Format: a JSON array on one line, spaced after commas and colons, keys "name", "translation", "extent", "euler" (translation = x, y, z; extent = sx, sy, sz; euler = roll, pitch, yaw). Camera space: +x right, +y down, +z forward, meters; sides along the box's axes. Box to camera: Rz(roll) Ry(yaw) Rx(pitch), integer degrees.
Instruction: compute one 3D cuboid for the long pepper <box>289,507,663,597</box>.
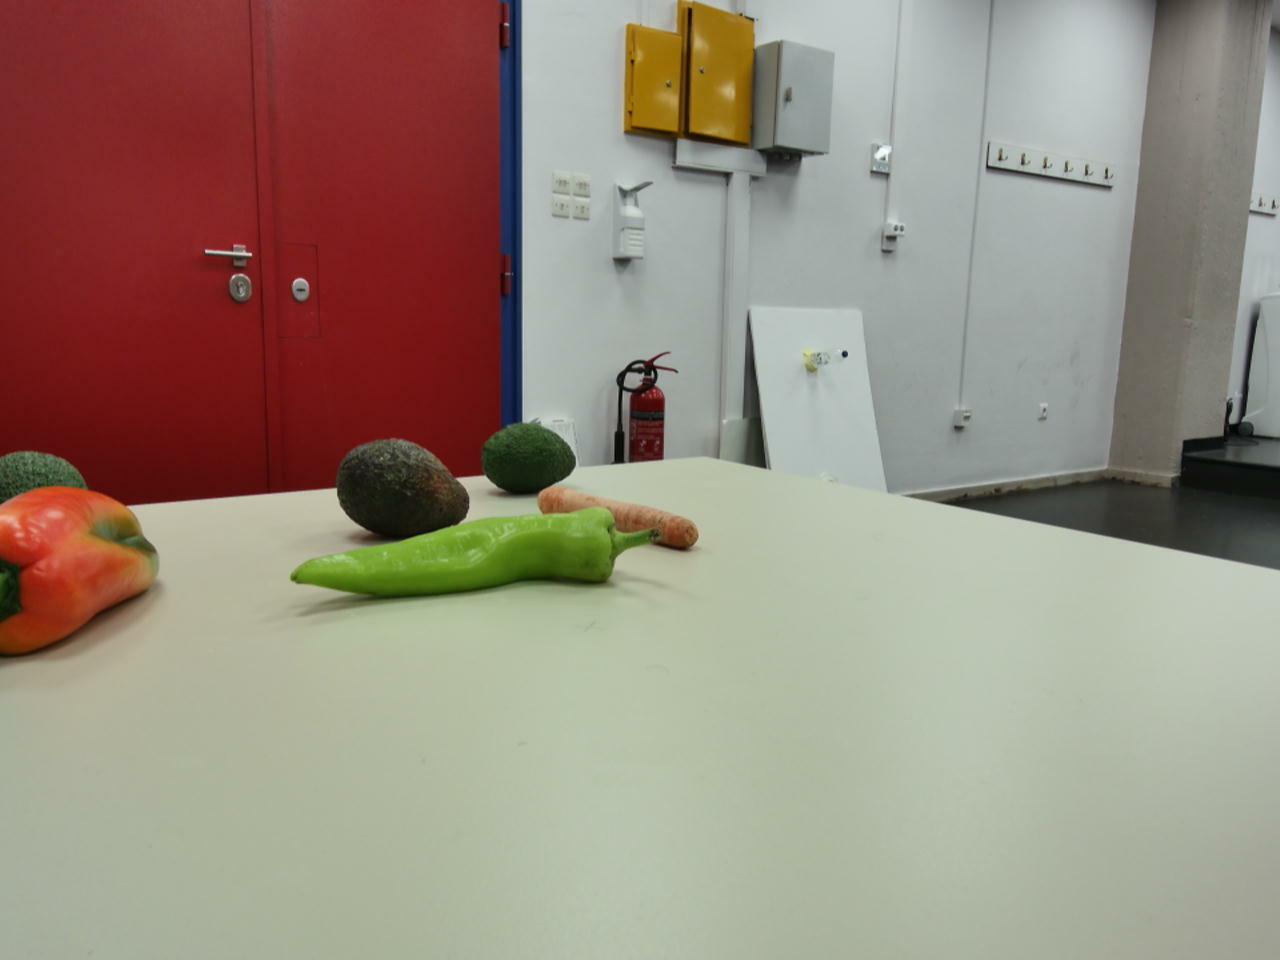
[{"name": "long pepper", "translation": [-0.091, 0.042, 0.580], "extent": [0.204, 0.045, 0.065], "euler": [-3, 8, -20]}]
